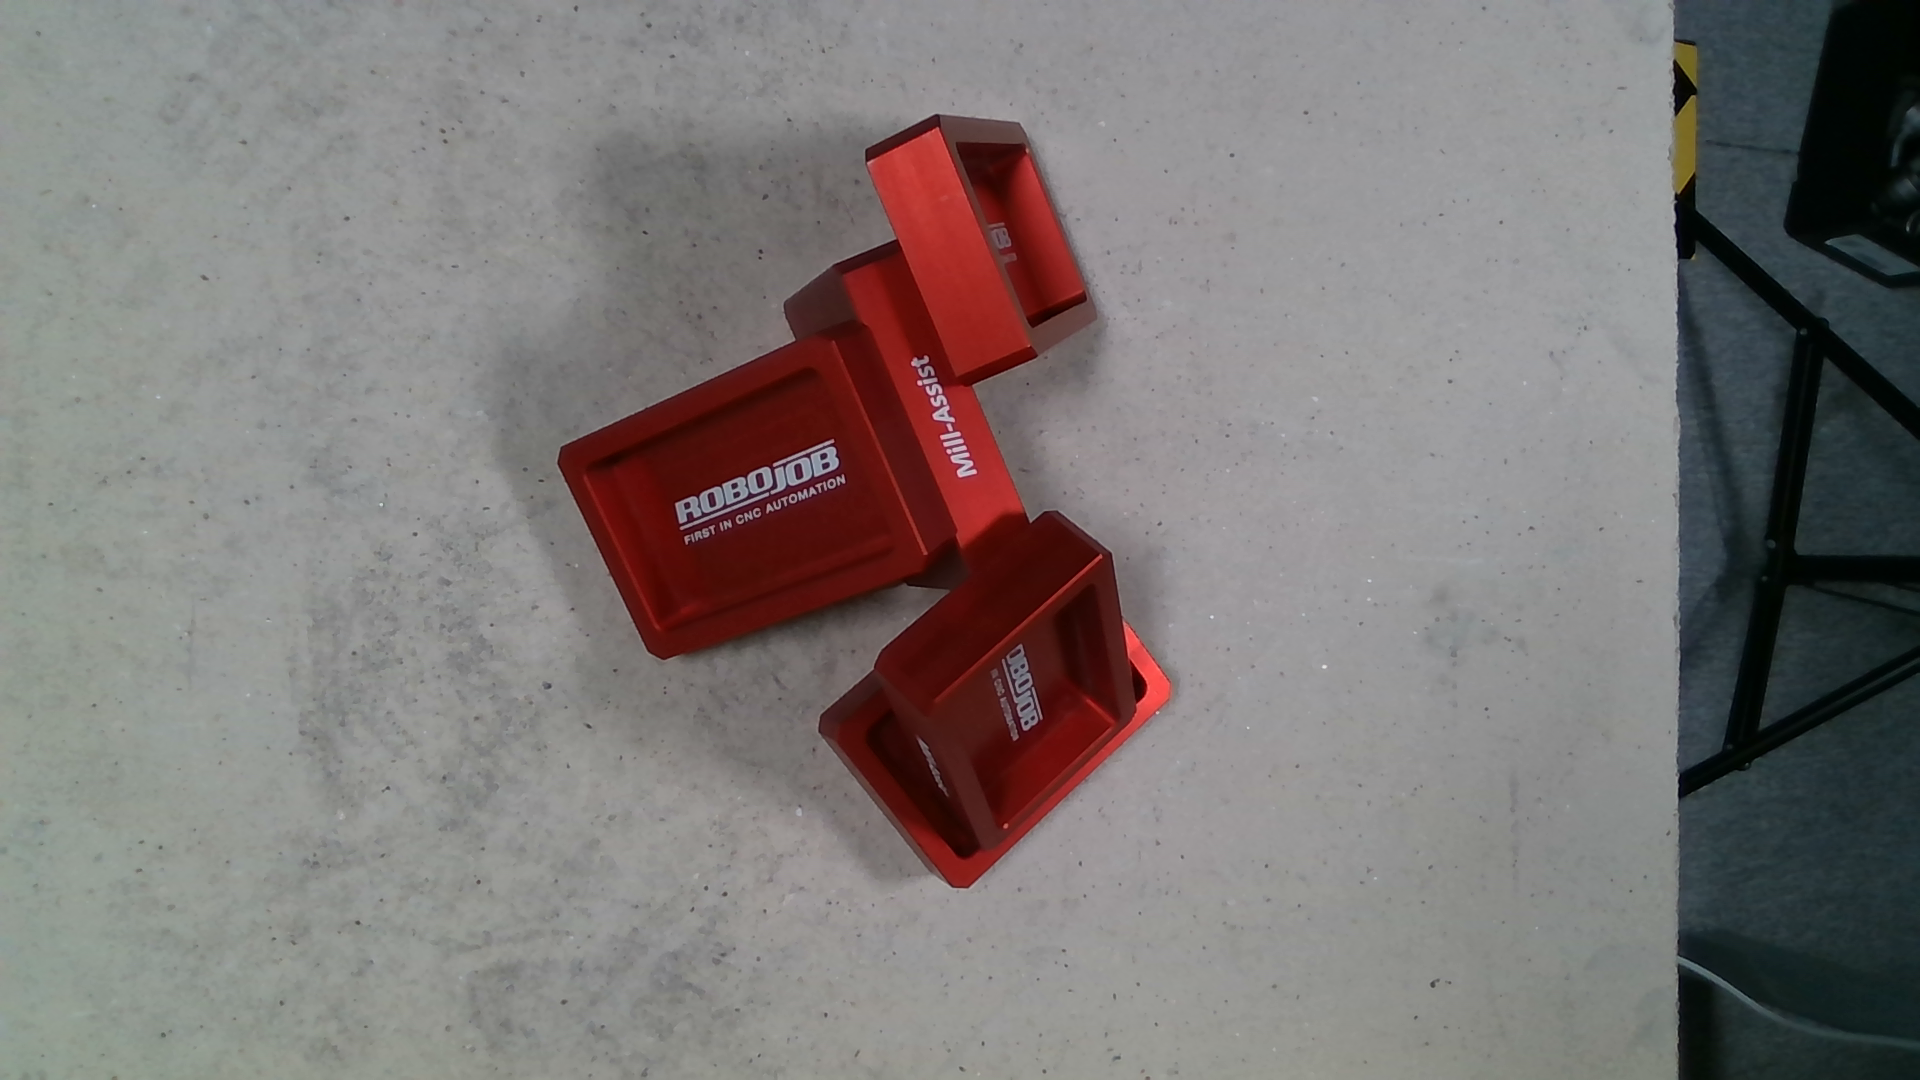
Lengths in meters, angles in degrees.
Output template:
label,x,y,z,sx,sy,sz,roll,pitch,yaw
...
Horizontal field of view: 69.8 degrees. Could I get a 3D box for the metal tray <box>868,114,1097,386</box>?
label,x,y,z,sx,sy,sz,roll,pitch,yaw
metal tray,0.014,-0.117,0.540,0.030,0.130,0.090,-20,99,20

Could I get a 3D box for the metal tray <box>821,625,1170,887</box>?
label,x,y,z,sx,sy,sz,roll,pitch,yaw
metal tray,0.016,0.071,0.590,0.130,0.030,0.090,-40,103,-16

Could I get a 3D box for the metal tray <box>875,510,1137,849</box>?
label,x,y,z,sx,sy,sz,roll,pitch,yaw
metal tray,0.023,0.058,0.535,0.090,0.030,0.130,-40,147,-15

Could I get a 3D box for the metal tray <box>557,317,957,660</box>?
label,x,y,z,sx,sy,sz,roll,pitch,yaw
metal tray,-0.077,-0.017,0.511,0.130,0.030,0.090,-20,99,26

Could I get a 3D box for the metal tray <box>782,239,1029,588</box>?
label,x,y,z,sx,sy,sz,roll,pitch,yaw
metal tray,-0.021,-0.045,0.543,0.030,0.090,0.130,-27,99,-18
